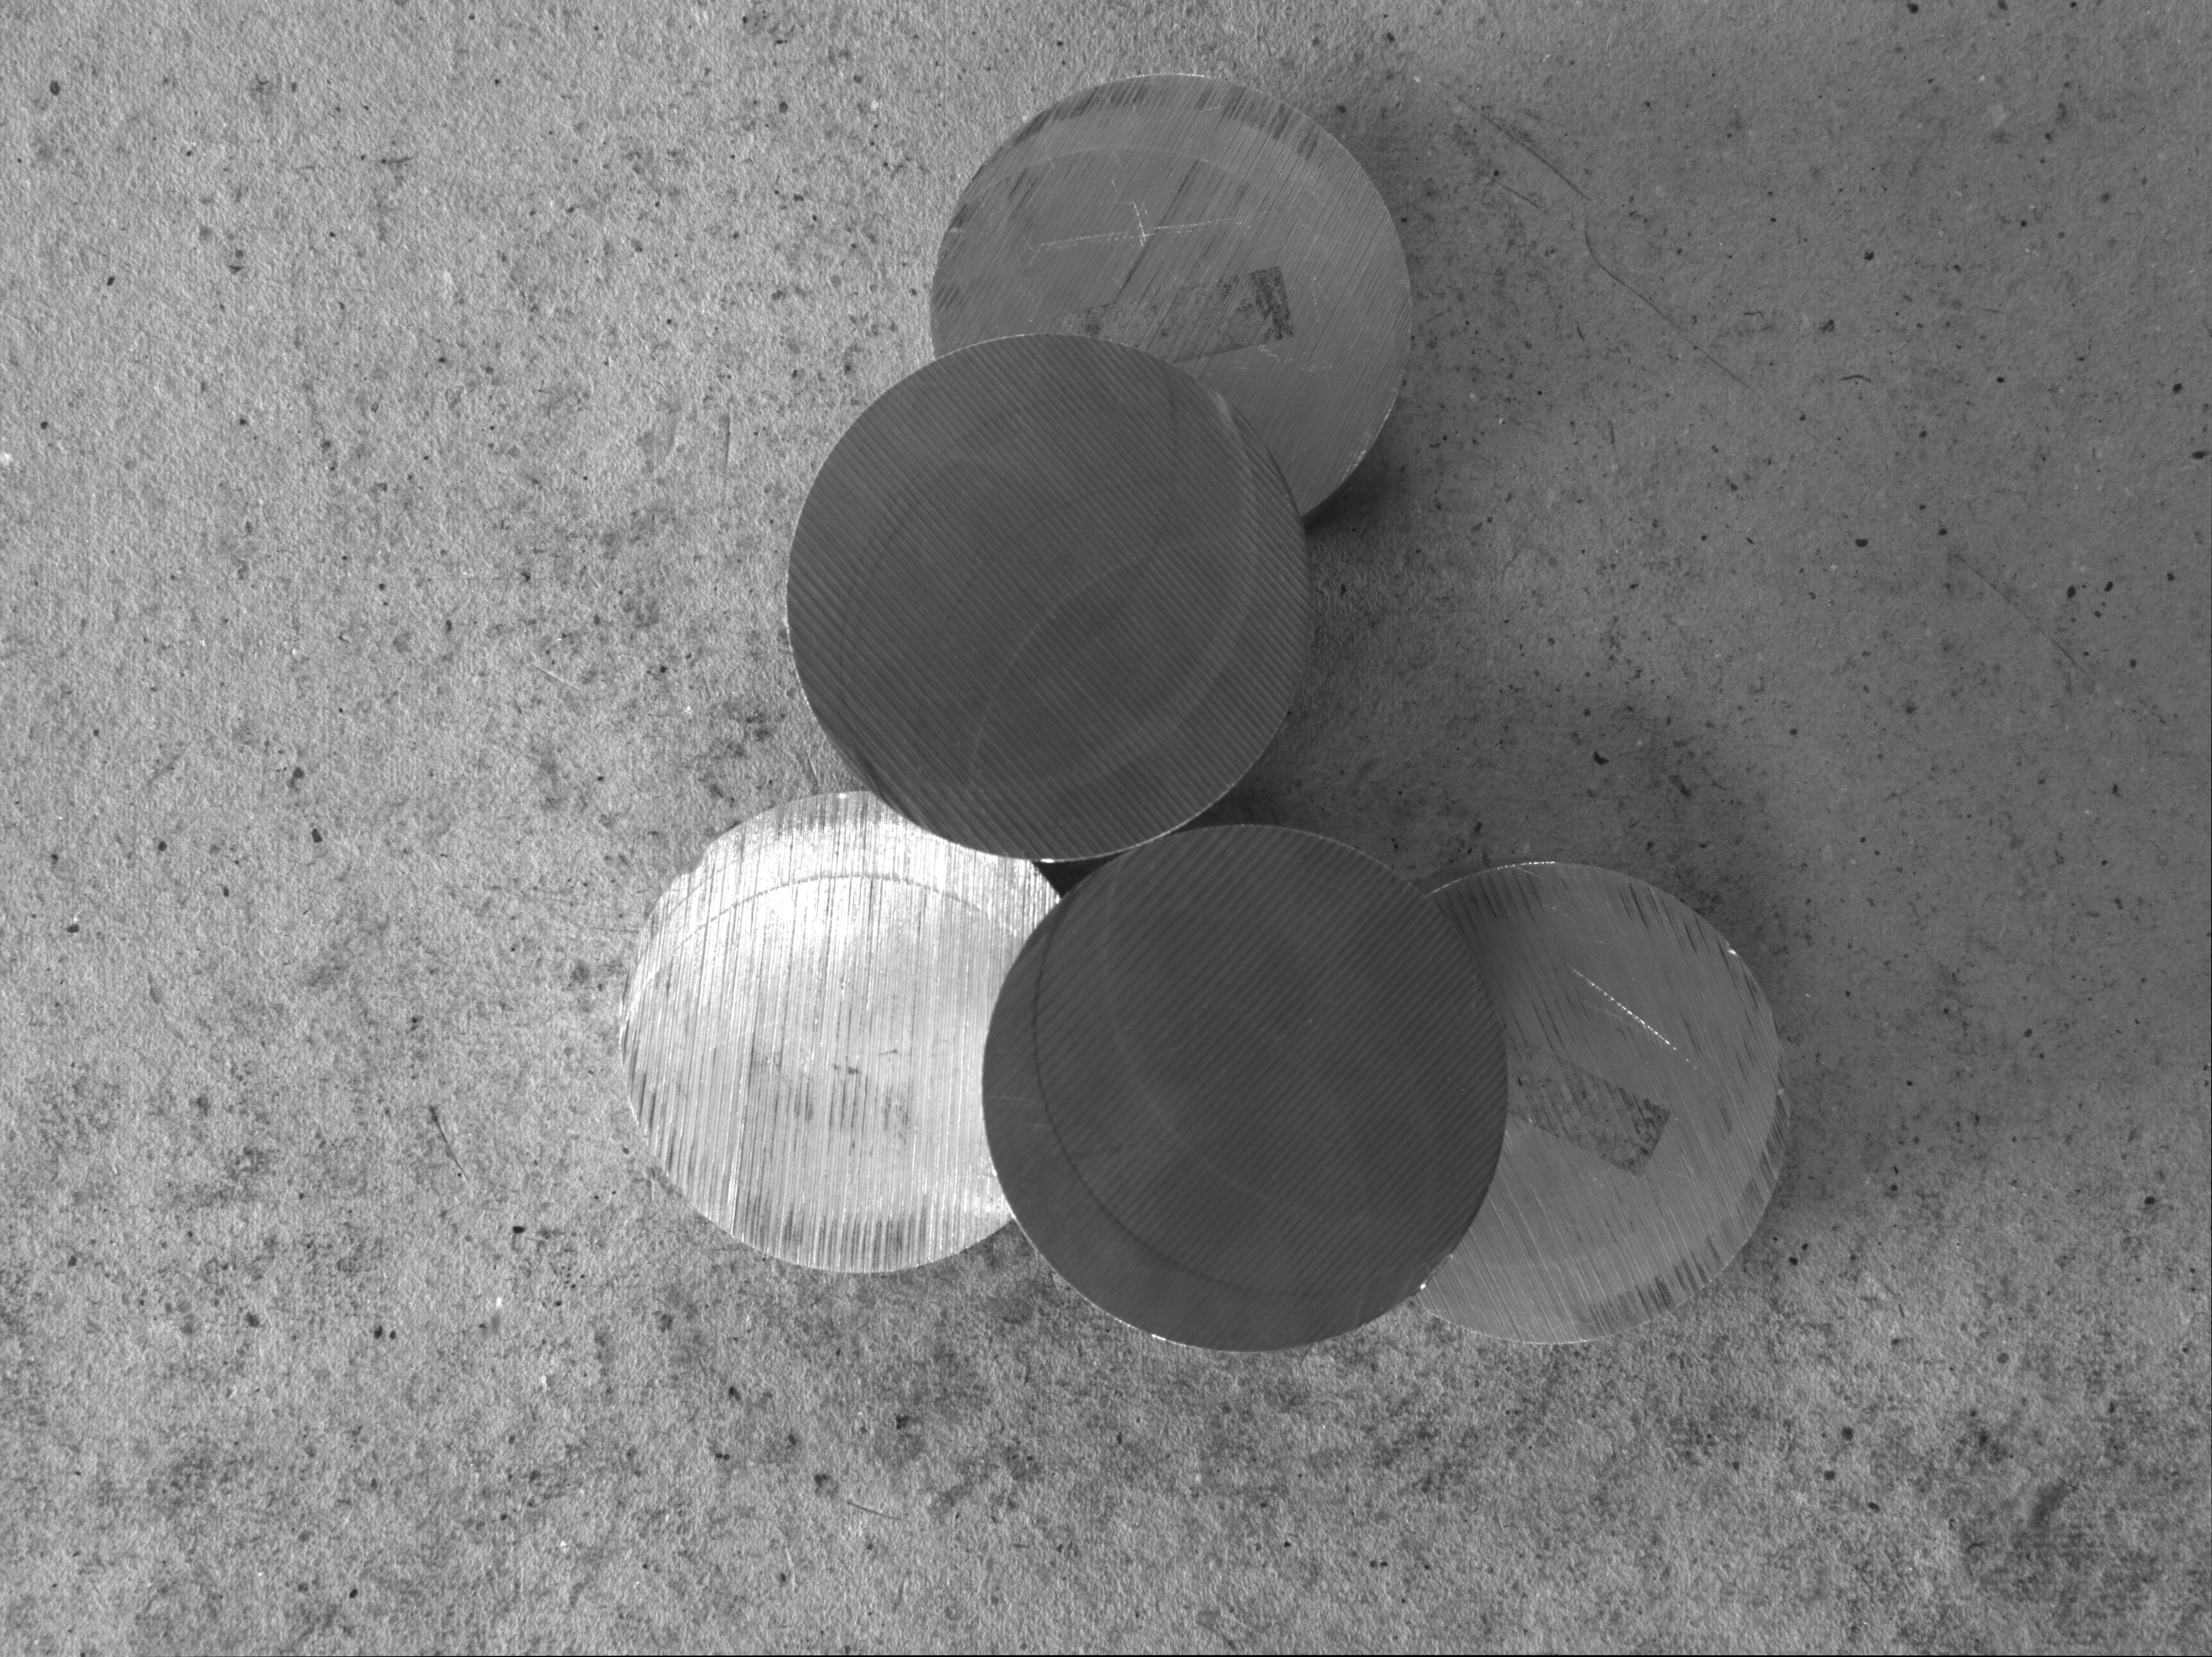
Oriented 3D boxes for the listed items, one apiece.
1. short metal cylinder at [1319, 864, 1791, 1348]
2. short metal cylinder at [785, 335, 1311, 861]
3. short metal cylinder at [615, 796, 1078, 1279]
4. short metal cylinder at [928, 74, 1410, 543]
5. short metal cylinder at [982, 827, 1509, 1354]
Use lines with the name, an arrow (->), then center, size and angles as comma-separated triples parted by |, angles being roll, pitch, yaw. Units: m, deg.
short metal cylinder -> 0.074, 0.046, 0.633 | 0.080, 0.050, 0.080 | 0, 90, 0
short metal cylinder -> -0.009, -0.035, 0.582 | 0.080, 0.050, 0.080 | 0, 90, 0
short metal cylinder -> -0.041, 0.035, 0.633 | 0.080, 0.050, 0.080 | 0, 90, 0
short metal cylinder -> 0.011, -0.085, 0.633 | 0.080, 0.050, 0.080 | 0, 90, 0
short metal cylinder -> 0.021, 0.040, 0.582 | 0.080, 0.050, 0.080 | 0, 90, 0
